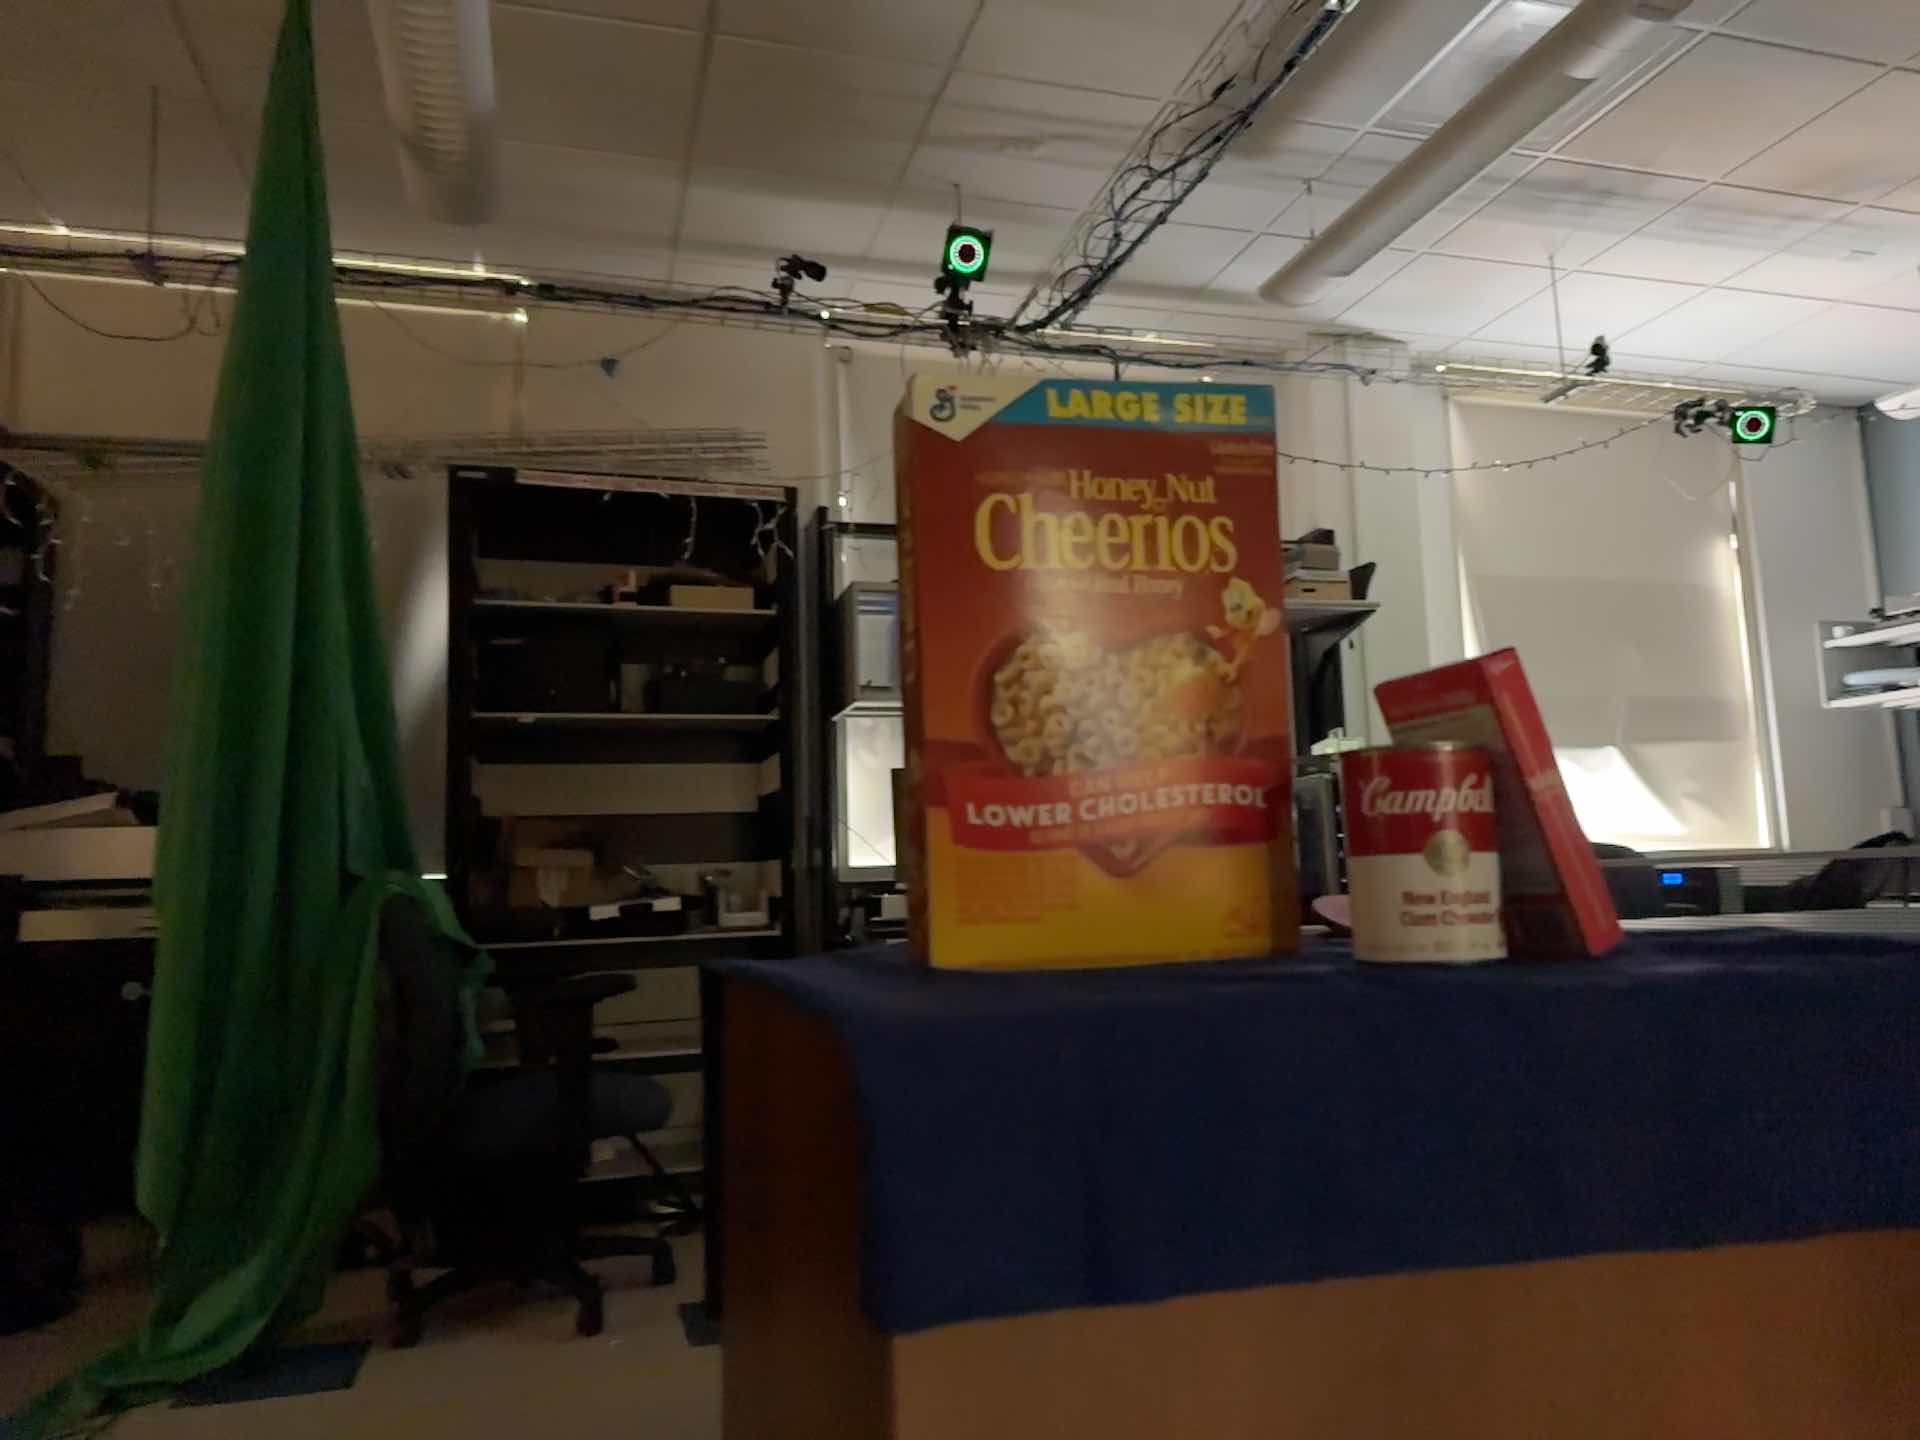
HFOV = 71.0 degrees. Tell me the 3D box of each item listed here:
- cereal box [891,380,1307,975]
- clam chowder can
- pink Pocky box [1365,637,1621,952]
[{"bbox_3d":[0.069,-0.025,0.714,0.195,0.297,0.065,0,-6,-8],"label":"cereal box"},{"bbox_3d":[0.213,0.067,0.656,0.068,0.102,0.068,1,-6,0],"label":"clam chowder can"},{"bbox_3d":[0.266,0.040,0.680,0.029,0.155,0.084,-22,0,-22],"label":"pink Pocky box"}]
